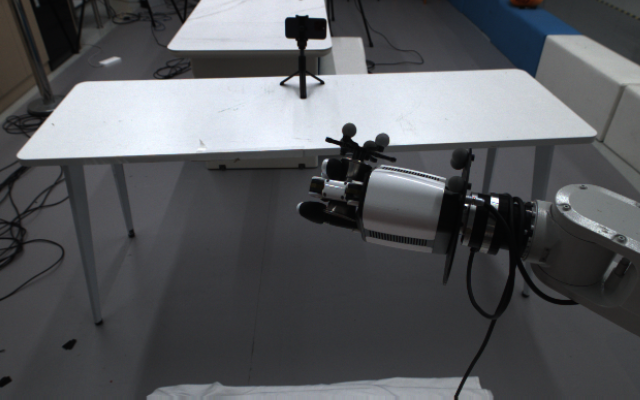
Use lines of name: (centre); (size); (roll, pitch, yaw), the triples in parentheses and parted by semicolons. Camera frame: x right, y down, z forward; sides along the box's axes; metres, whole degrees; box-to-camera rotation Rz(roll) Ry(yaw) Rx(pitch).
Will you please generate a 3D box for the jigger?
jigger: (0.032, -0.015, 0.583); (0.043, 0.071, 0.043); (18, -6, 2)
